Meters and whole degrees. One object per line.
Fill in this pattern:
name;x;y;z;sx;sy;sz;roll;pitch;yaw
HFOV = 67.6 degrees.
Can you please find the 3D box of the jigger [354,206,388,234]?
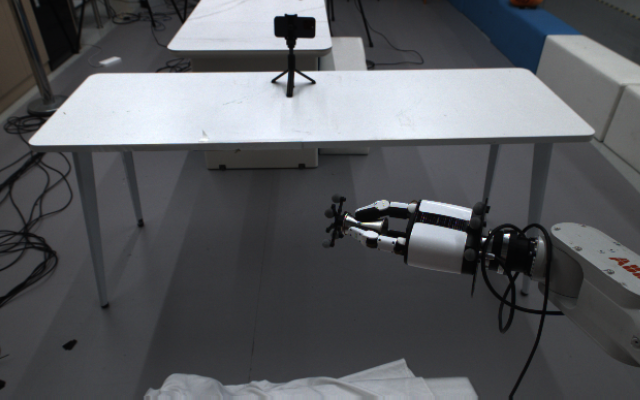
jigger;0.082;0.042;0.813;0.071;0.043;0.043;10;35;22
